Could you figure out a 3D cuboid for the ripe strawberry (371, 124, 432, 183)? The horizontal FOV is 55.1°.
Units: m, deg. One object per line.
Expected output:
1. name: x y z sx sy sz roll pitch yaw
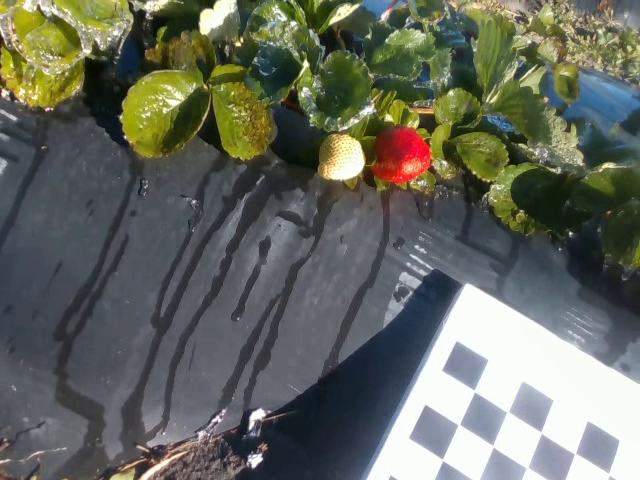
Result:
1. ripe strawberry: 0.058 -0.053 0.428 0.042 0.046 0.061 18 24 0
